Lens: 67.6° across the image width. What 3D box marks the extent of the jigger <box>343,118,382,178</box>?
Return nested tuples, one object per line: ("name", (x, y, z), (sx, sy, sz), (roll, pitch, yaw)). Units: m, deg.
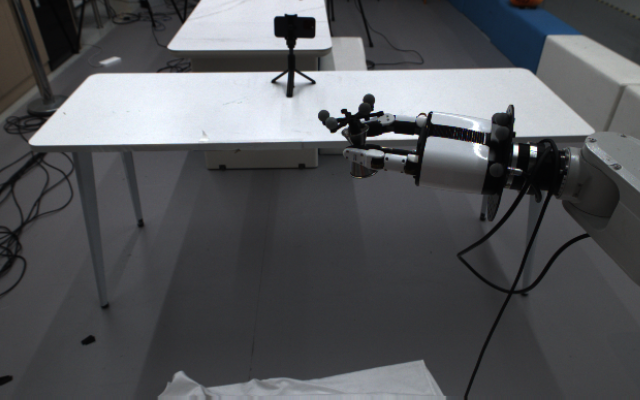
("jigger", (0.058, -0.071, 0.702), (0.043, 0.071, 0.043), (-12, 29, 7))
